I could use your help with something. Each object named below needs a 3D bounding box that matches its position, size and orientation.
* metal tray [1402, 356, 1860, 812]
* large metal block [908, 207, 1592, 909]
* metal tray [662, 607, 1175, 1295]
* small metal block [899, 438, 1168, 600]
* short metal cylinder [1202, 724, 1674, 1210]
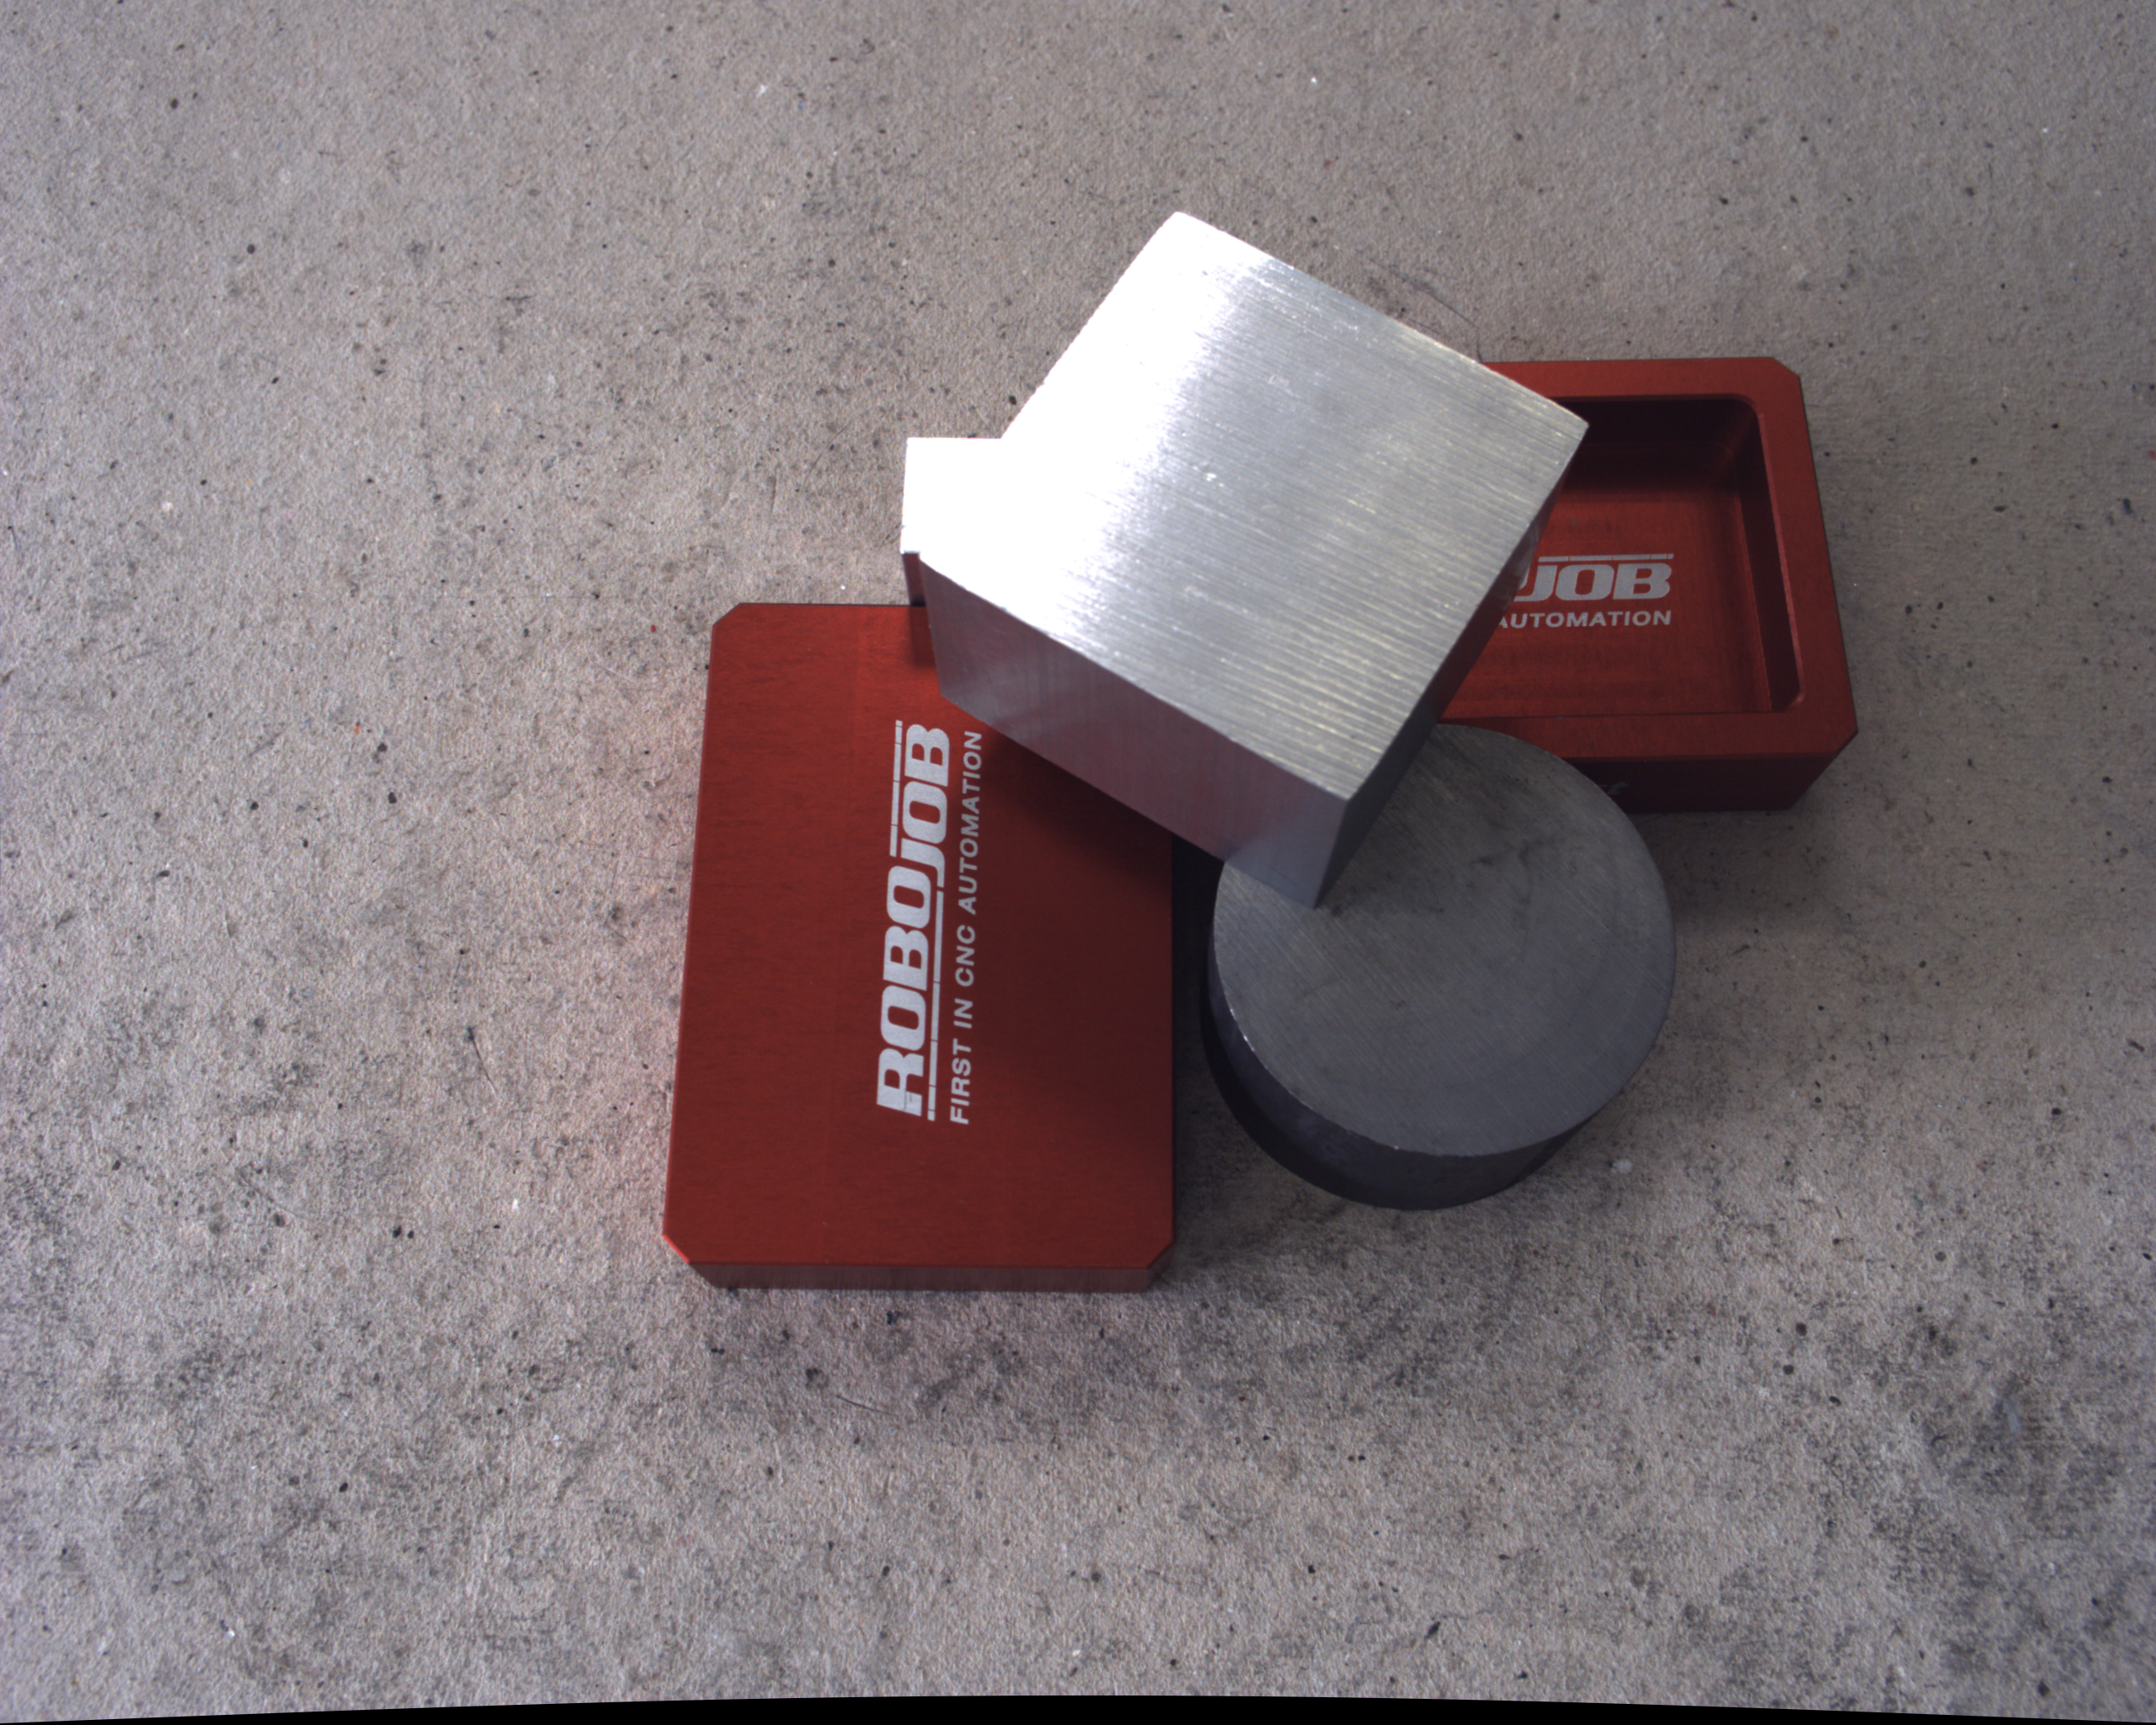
[{"bbox_3d":[0.084,-0.056,0.428,0.131,0.030,0.090,-1,70,-1],"label":"metal tray"},{"bbox_3d":[0.029,-0.052,0.361,0.080,0.050,0.080,31,73,10],"label":"large metal block"},{"bbox_3d":[-0.027,0.016,0.402,0.091,0.030,0.130,1,70,0],"label":"metal tray"},{"bbox_3d":[-0.008,-0.061,0.418,0.050,0.050,0.025,1,70,0],"label":"small metal block"},{"bbox_3d":[0.064,0.021,0.389,0.080,0.050,0.080,0,70,0],"label":"short metal cylinder"}]
